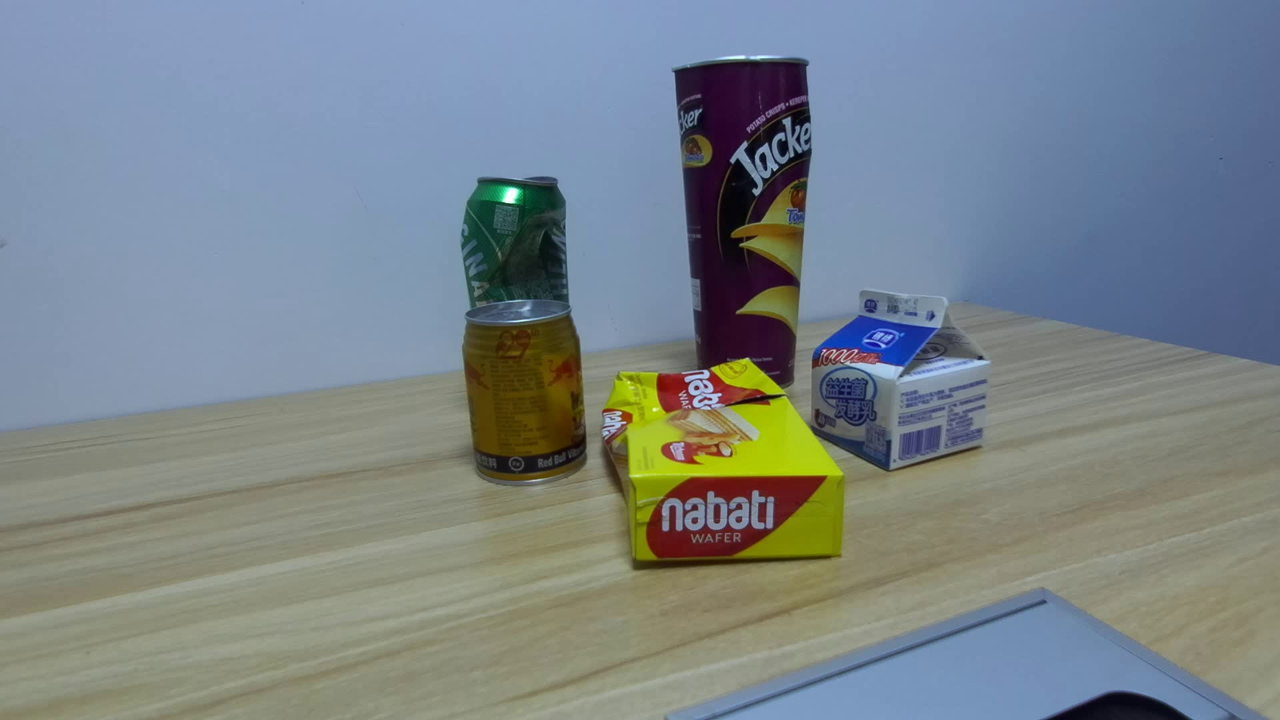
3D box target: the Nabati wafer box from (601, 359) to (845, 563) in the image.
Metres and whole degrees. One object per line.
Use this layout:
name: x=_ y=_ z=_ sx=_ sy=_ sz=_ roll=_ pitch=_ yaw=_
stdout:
Nabati wafer box: x=0.033 y=0.043 z=0.403 sx=0.107 sy=0.042 sz=0.204 roll=-2 pitch=15 yaw=-2

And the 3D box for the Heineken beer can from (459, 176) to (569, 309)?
Heineken beer can: x=-0.084 y=-0.043 z=0.495 sx=0.078 sy=0.164 sz=0.066 roll=-4 pitch=15 yaw=-17

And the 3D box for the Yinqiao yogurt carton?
Yinqiao yogurt carton: x=0.152 y=0.004 z=0.418 sx=0.074 sy=0.092 sz=0.075 roll=-10 pitch=16 yaw=-23

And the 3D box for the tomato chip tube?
tomato chip tube: x=0.079 y=-0.097 z=0.532 sx=0.076 sy=0.235 sz=0.077 roll=-13 pitch=17 yaw=-37

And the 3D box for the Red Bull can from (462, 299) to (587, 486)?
Red Bull can: x=-0.066 y=0.016 z=0.409 sx=0.067 sy=0.093 sz=0.067 roll=-1 pitch=16 yaw=1
